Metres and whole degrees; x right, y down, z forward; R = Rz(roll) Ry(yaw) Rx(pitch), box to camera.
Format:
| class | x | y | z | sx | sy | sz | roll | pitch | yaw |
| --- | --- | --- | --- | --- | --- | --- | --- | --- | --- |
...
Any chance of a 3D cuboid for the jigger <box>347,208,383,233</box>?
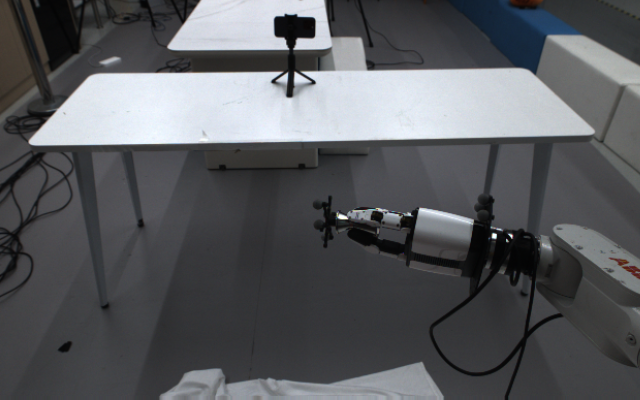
| class | x | y | z | sx | sy | sz | roll | pitch | yaw |
| --- | --- | --- | --- | --- | --- | --- | --- | --- | --- |
| jigger | 0.070 | 0.033 | 0.793 | 0.071 | 0.043 | 0.043 | 2 | 34 | 14 |
